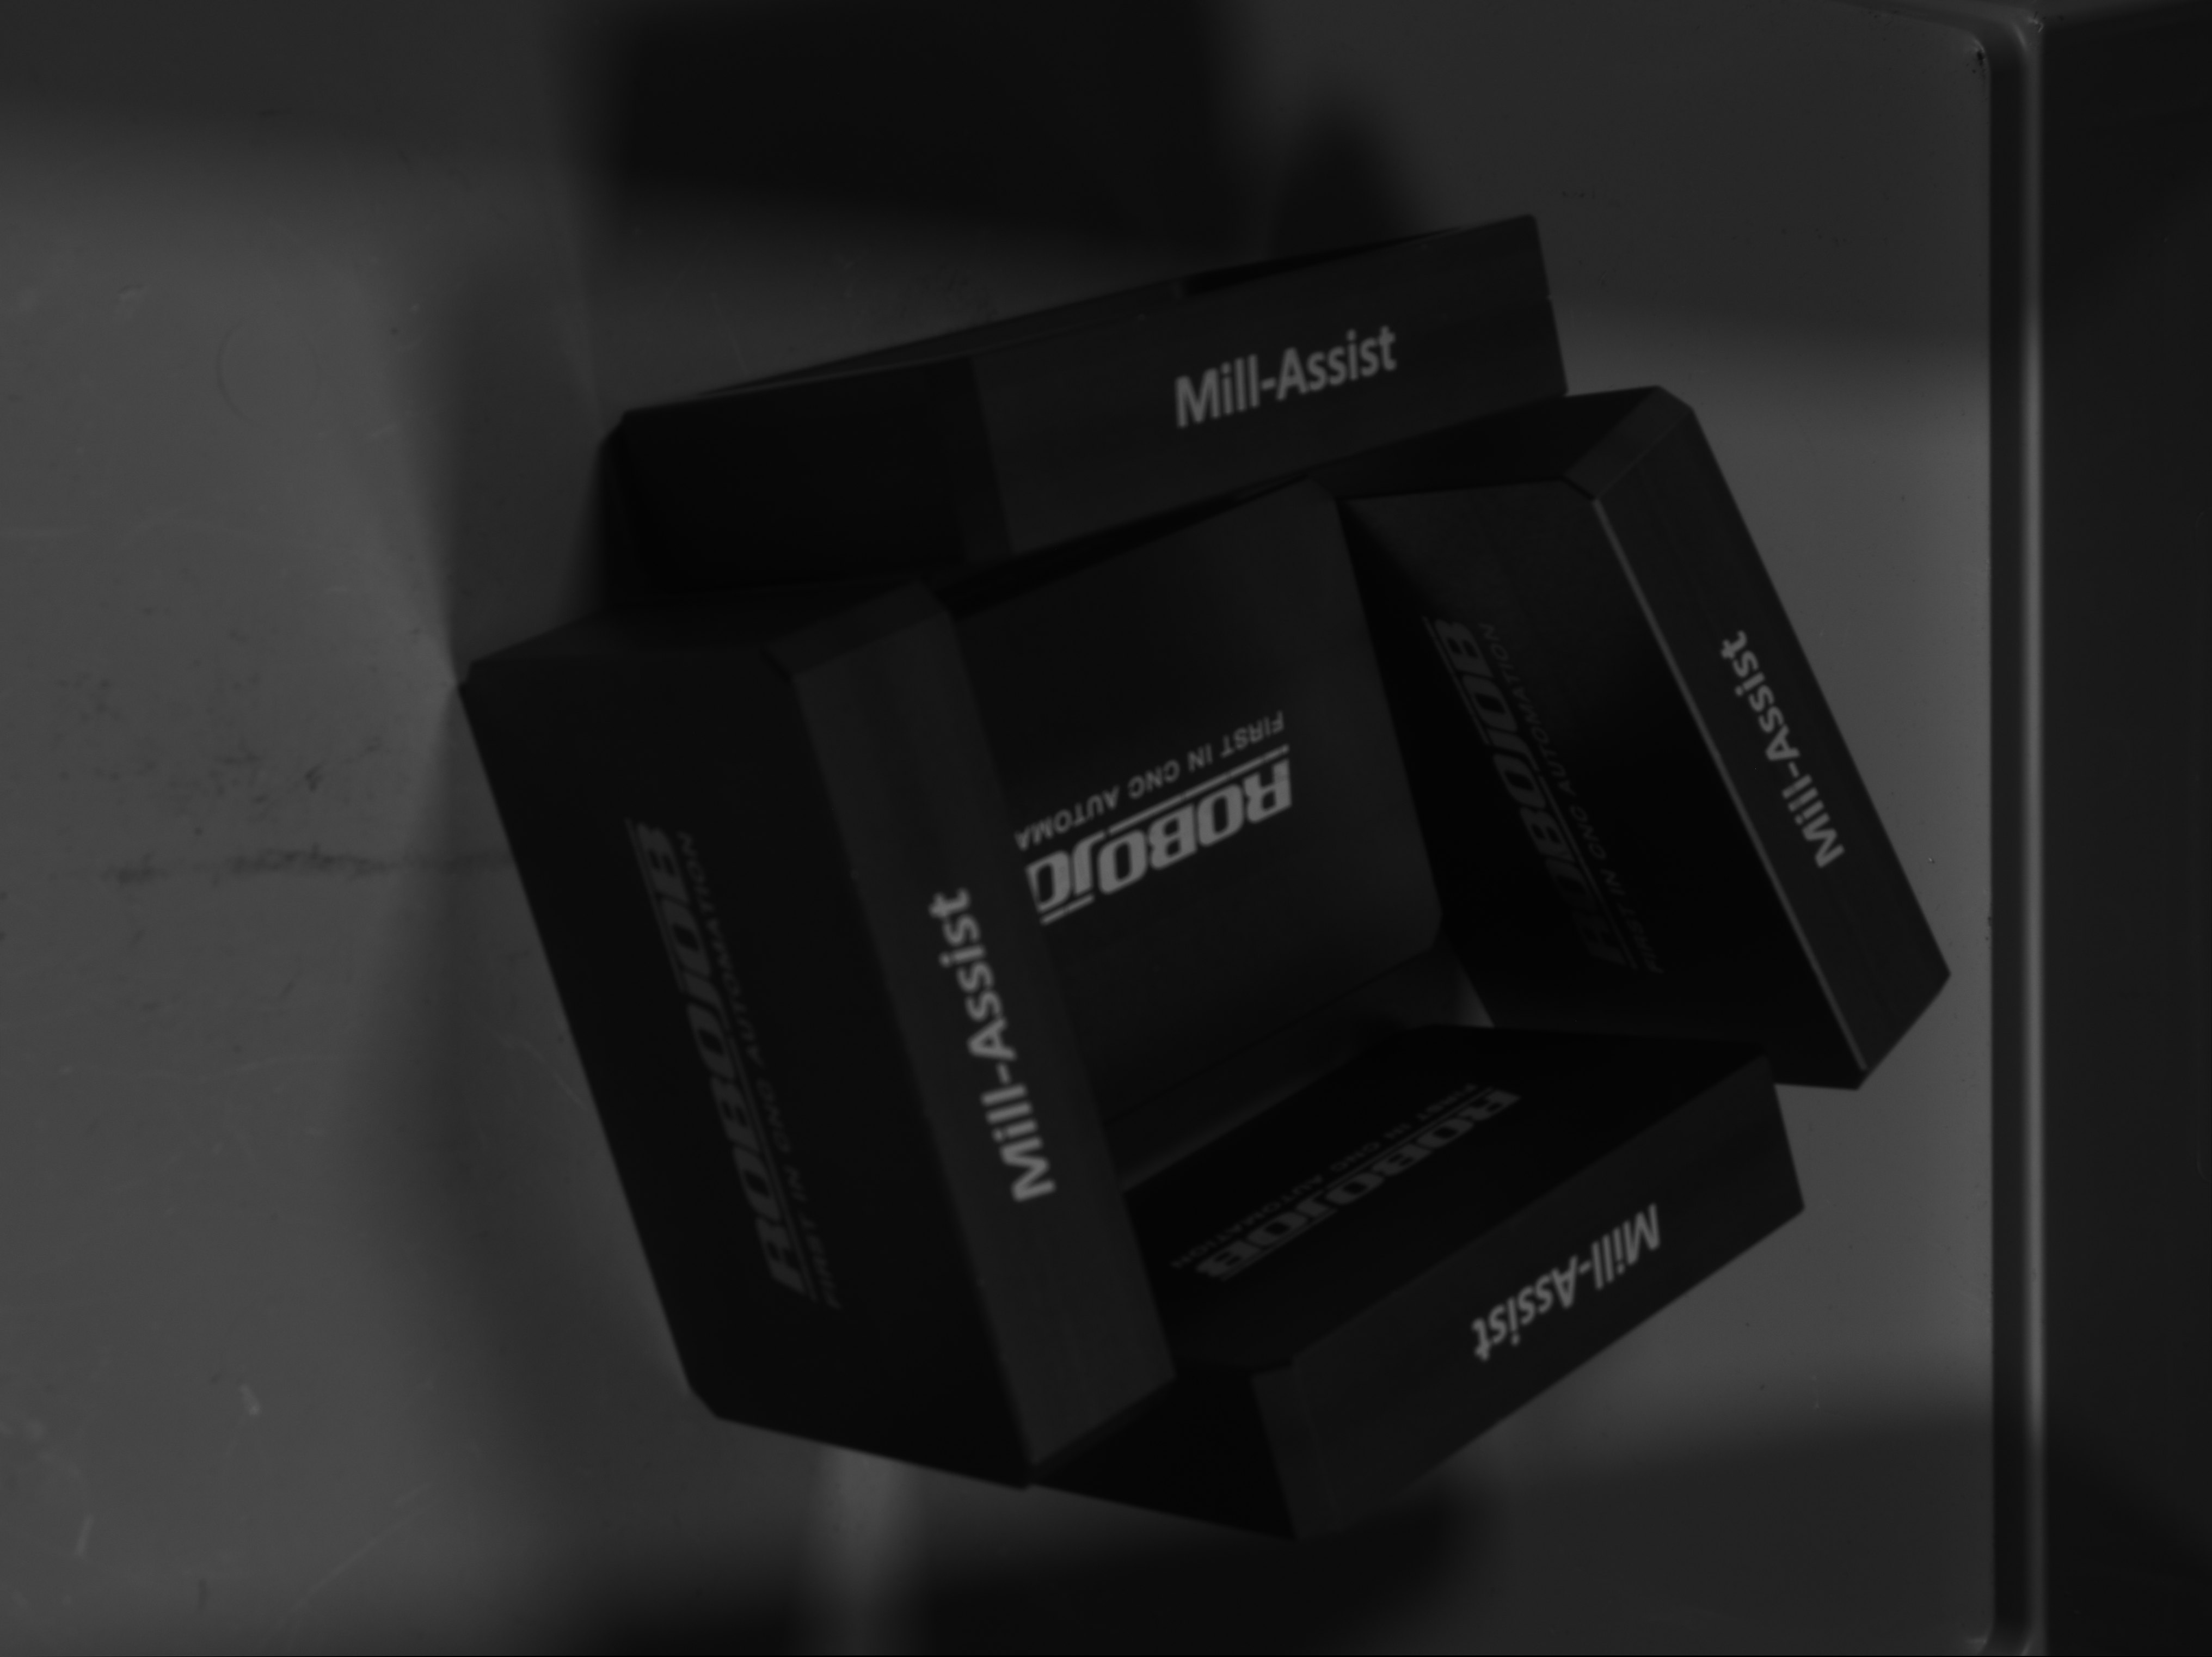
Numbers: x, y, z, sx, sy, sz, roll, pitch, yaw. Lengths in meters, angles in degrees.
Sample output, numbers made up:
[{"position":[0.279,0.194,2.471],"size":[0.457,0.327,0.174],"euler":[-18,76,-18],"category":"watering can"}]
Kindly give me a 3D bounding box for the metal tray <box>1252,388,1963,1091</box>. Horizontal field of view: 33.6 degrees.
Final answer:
[{"position":[0.091,-0.014,0.670],"size":[0.030,0.090,0.130],"euler":[-43,116,-31],"category":"metal tray"}]

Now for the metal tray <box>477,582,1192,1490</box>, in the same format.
[{"position":[-0.042,0.031,0.558],"size":[0.030,0.090,0.130],"euler":[-27,107,-37],"category":"metal tray"}]

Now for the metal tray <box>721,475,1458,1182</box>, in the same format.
[{"position":[-0.002,0.000,0.629],"size":[0.130,0.030,0.090],"euler":[-25,106,-37],"category":"metal tray"}]

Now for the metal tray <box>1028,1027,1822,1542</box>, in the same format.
[{"position":[0.049,0.074,0.634],"size":[0.130,0.090,0.030],"euler":[-26,106,-37],"category":"metal tray"}]

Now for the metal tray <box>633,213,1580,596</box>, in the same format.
[{"position":[0.001,-0.069,0.594],"size":[0.130,0.090,0.030],"euler":[-20,103,-38],"category":"metal tray"}]
